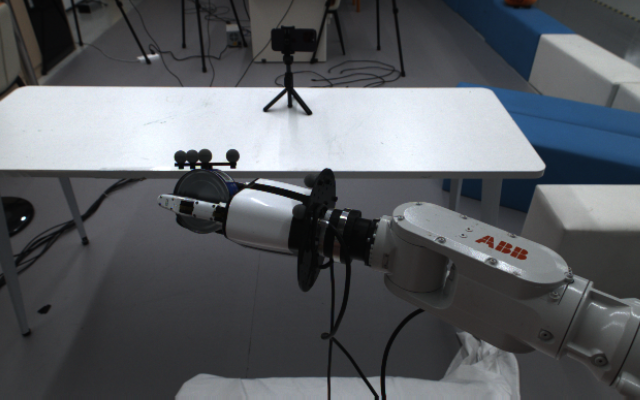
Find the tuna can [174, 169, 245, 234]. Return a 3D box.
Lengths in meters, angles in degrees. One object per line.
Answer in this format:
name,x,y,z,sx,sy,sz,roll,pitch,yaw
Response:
tuna can,-0.150,0.001,0.646,0.085,0.085,0.034,15,9,18
